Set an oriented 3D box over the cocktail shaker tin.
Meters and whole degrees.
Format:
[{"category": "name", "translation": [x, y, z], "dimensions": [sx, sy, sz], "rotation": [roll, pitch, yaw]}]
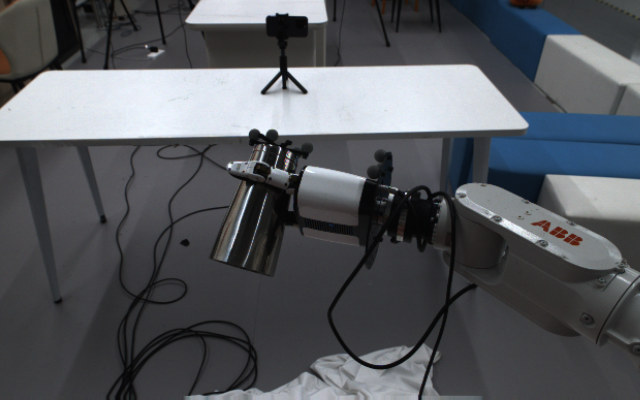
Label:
[{"category": "cocktail shaker tin", "translation": [-0.082, 0.010, 0.674], "dimensions": [0.093, 0.093, 0.170], "rotation": [13, 77, 15]}]
